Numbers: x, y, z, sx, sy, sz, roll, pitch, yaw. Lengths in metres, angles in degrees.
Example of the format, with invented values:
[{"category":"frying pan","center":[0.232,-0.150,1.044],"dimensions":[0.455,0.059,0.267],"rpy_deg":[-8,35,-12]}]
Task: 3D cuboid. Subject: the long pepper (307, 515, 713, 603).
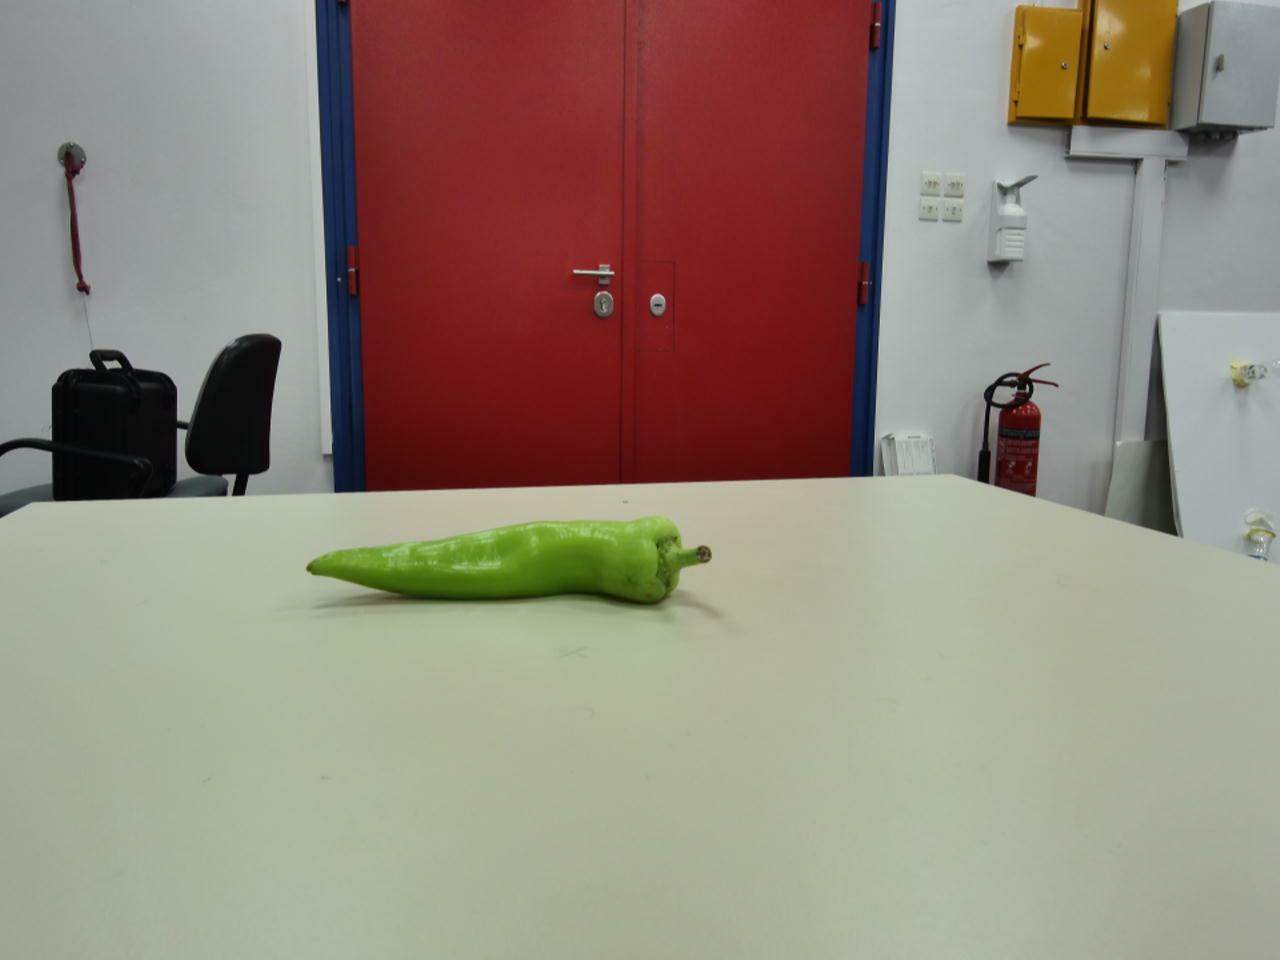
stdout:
[{"category":"long pepper","center":[-0.063,0.042,0.529],"dimensions":[0.205,0.045,0.065],"rpy_deg":[0,7,3]}]
